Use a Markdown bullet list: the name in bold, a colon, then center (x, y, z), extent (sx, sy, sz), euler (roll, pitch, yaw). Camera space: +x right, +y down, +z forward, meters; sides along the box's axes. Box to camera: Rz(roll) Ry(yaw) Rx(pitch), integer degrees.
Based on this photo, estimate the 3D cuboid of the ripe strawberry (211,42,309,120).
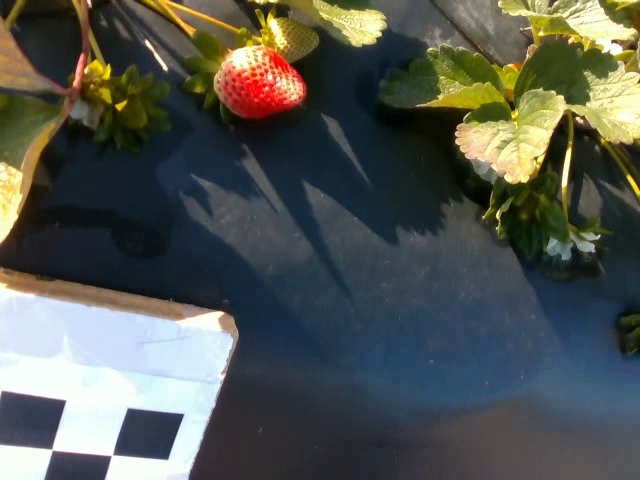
- **ripe strawberry**: center (-0.021, -0.061, 0.246), extent (0.045, 0.037, 0.042), euler (19, 26, 39)
